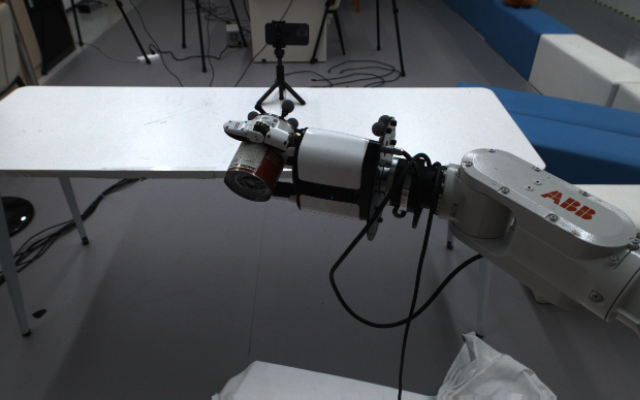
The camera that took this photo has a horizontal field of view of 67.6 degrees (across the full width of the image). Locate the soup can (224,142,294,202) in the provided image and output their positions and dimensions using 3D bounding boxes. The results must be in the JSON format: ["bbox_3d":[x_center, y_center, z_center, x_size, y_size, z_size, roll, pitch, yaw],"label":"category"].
[{"bbox_3d":[-0.079,-0.060,0.651,0.067,0.067,0.101,12,59,14],"label":"soup can"}]
